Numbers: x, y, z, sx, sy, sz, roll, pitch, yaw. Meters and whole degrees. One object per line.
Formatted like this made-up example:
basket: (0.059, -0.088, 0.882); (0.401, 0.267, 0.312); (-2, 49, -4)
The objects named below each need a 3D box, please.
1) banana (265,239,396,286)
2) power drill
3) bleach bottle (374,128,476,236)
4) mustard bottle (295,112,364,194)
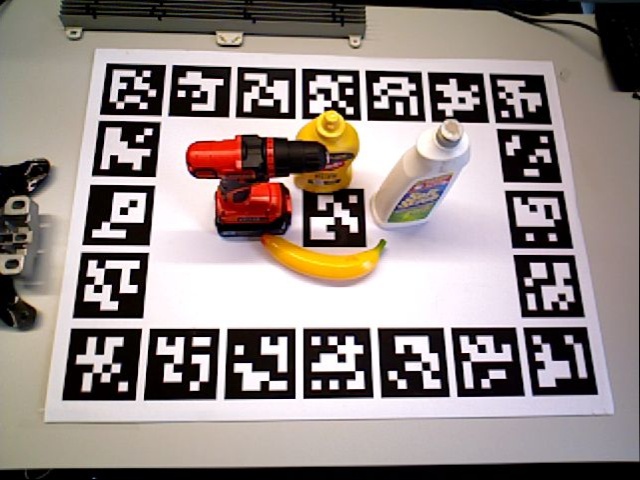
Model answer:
banana: (0.015, 0.031, 0.812); (0.196, 0.039, 0.074); (4, 77, 0)
power drill: (-0.083, -0.080, 0.742); (0.183, 0.190, 0.057); (-1, 65, -7)
bleach bottle: (0.147, -0.078, 0.752); (0.102, 0.254, 0.067); (-7, 73, -7)
mustard bottle: (0.016, -0.129, 0.783); (0.095, 0.194, 0.058); (2, 71, -5)
